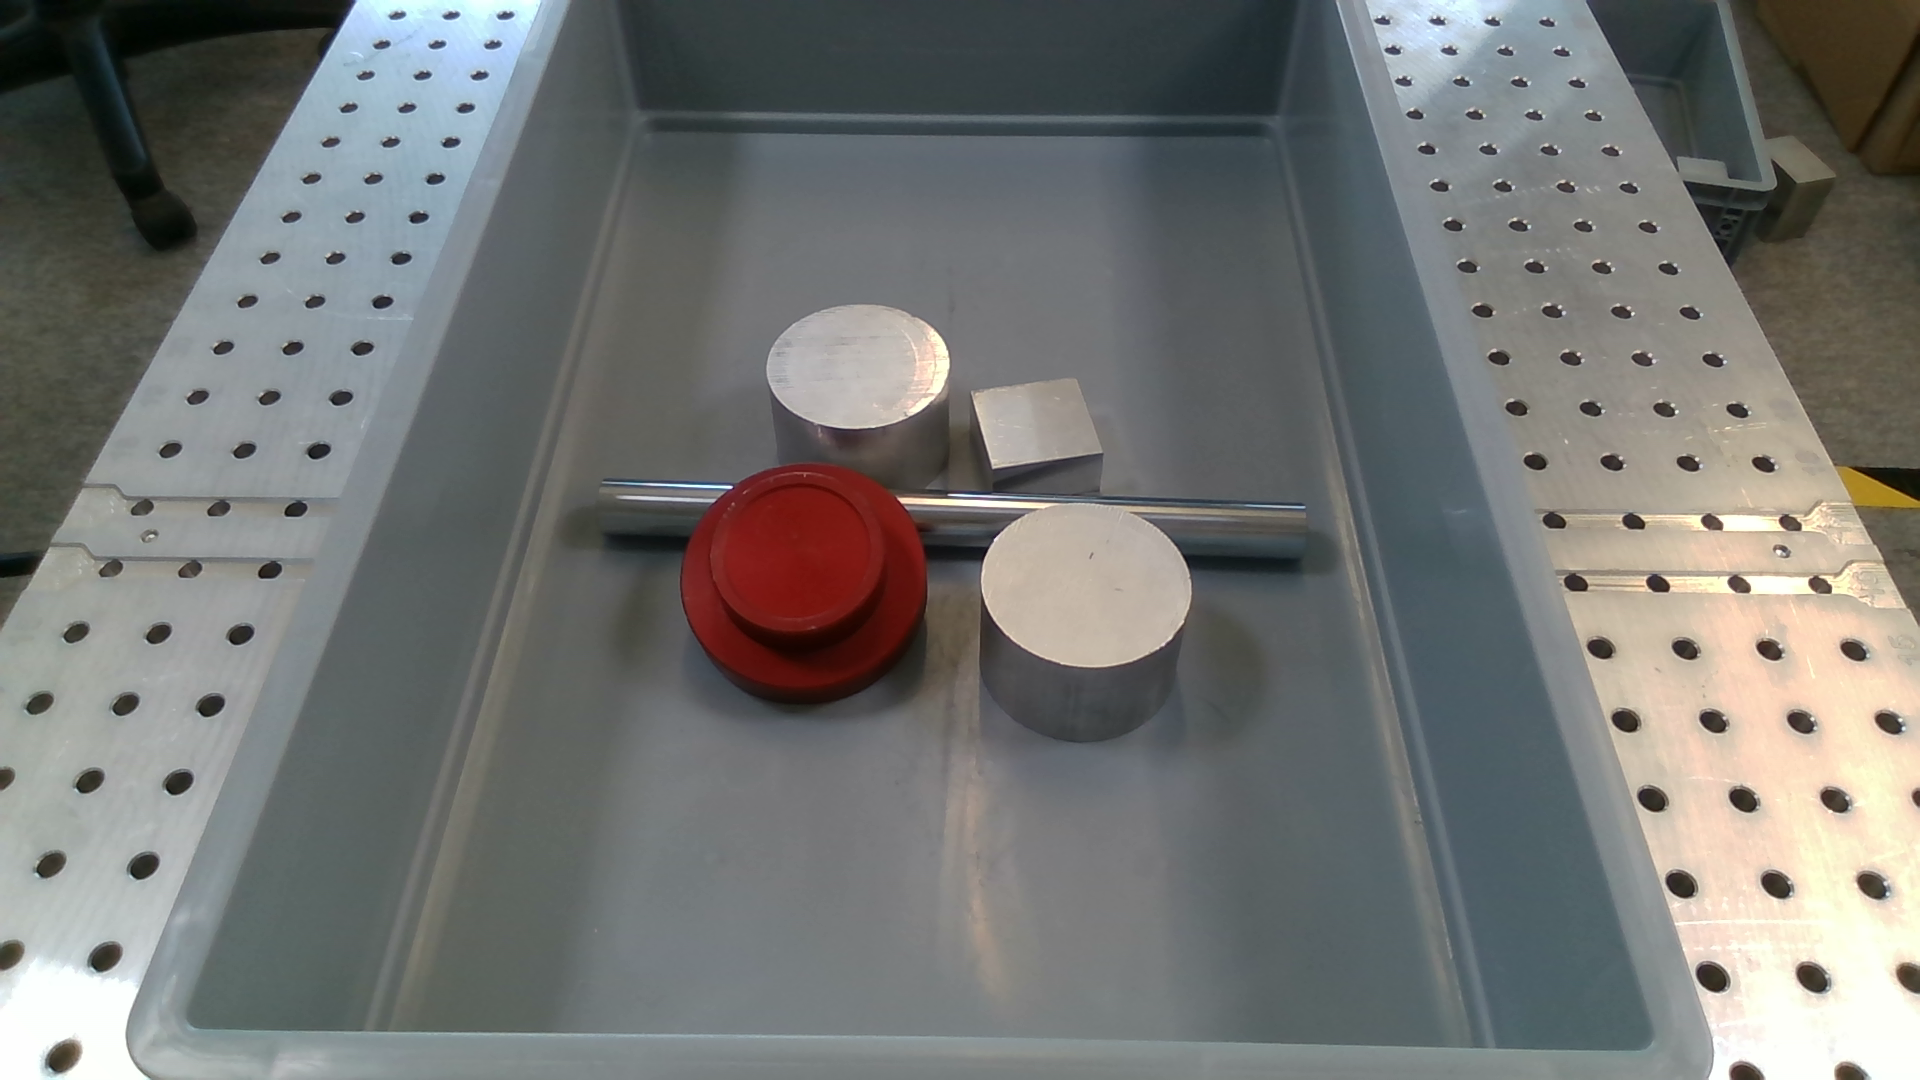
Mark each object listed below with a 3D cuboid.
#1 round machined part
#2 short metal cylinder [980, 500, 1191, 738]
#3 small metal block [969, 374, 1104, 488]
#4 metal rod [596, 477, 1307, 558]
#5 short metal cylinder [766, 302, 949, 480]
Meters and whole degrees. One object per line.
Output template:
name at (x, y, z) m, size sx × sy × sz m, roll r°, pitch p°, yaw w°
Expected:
round machined part at (-0.063, 0.012, 0.549) m, size 0.098 × 0.042 × 0.098 m, roll 0°, pitch 66°, yaw -1°
short metal cylinder at (0.048, 0.031, 0.543) m, size 0.080 × 0.050 × 0.080 m, roll 0°, pitch 50°, yaw 0°
small metal block at (0.034, -0.046, 0.623) m, size 0.050 × 0.025 × 0.050 m, roll -9°, pitch 51°, yaw -7°
metal rod at (-0.004, -0.010, 0.593) m, size 0.300 × 0.025 × 0.025 m, roll 2°, pitch 50°, yaw 2°
short metal cylinder at (-0.045, -0.061, 0.620) m, size 0.080 × 0.050 × 0.080 m, roll 0°, pitch 50°, yaw 0°
